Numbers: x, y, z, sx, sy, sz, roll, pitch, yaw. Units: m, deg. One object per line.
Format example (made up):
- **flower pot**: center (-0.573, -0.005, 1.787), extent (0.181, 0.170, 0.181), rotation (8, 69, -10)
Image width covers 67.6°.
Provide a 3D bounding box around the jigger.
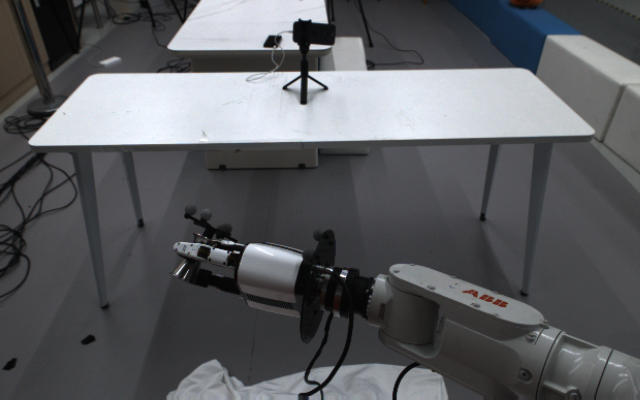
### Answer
- **jigger**: center (-0.185, 0.084, 0.706), extent (0.043, 0.043, 0.071), rotation (20, 74, 24)
